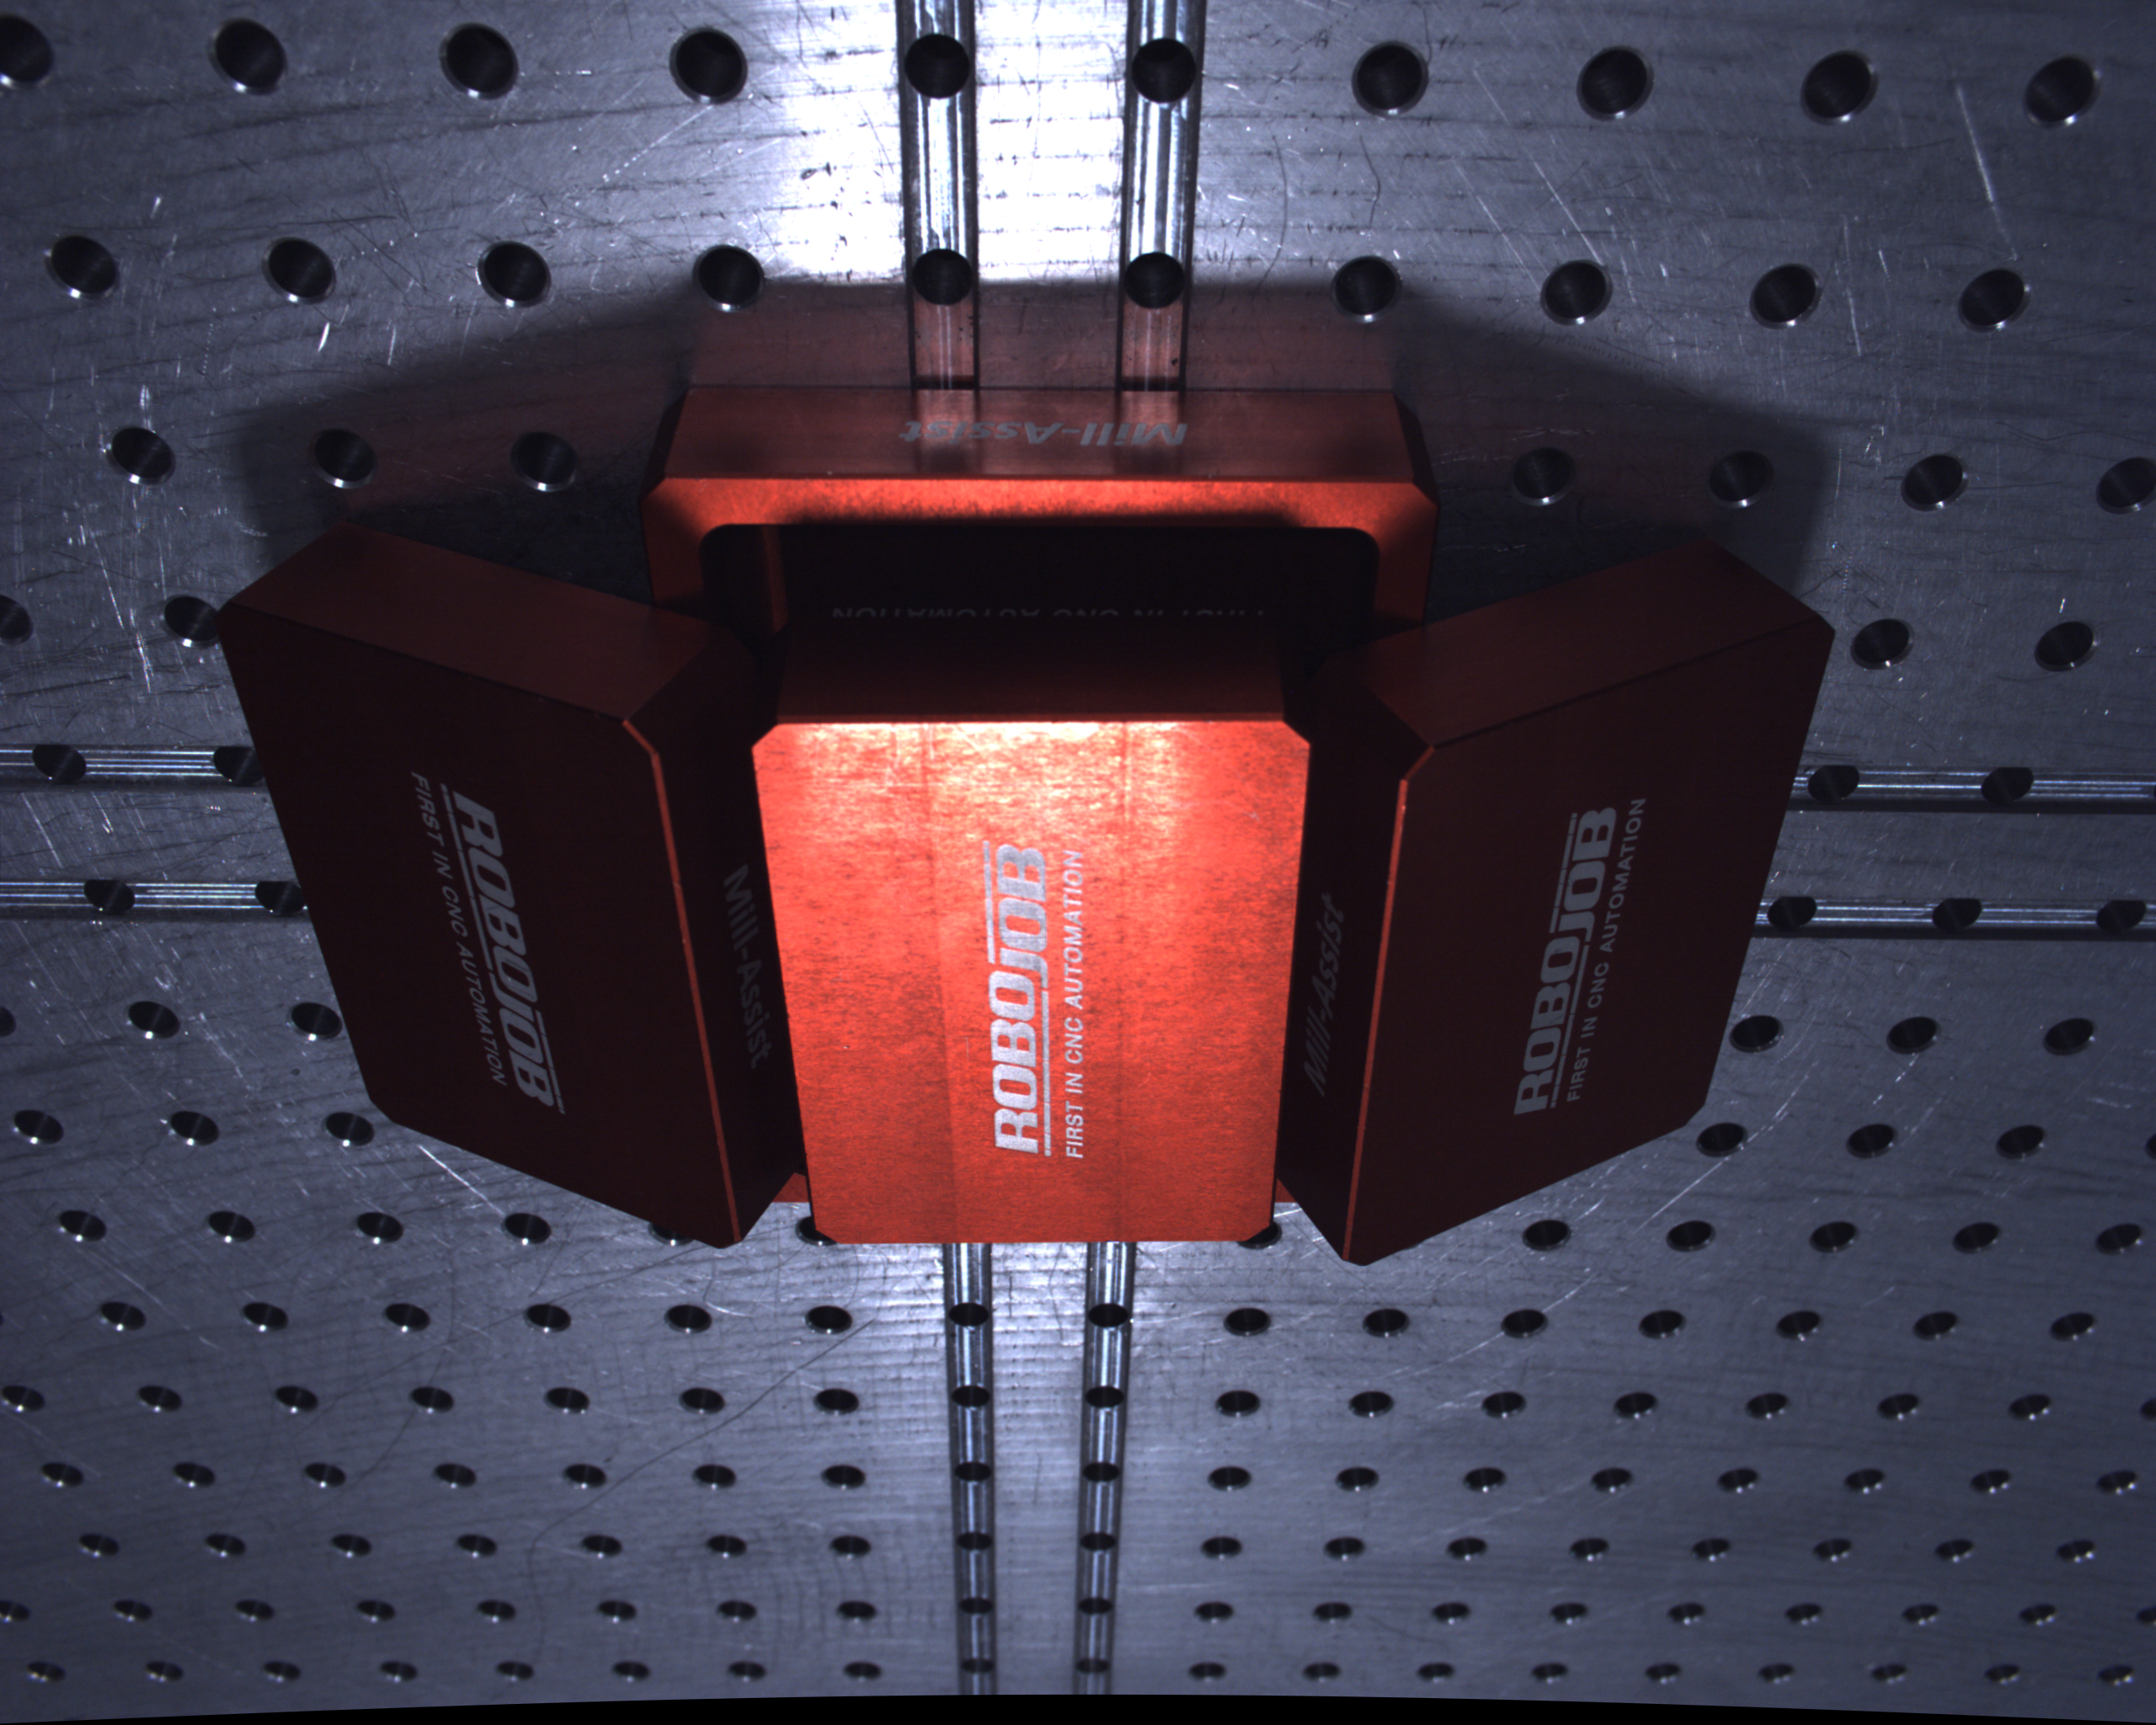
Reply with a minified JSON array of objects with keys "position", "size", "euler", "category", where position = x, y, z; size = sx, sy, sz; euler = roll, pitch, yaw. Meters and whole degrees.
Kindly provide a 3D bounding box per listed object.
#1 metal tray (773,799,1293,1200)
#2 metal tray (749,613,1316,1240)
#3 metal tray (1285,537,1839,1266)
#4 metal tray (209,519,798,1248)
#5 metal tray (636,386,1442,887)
[{"position":[-0.006,0.030,0.435],"size":[0.131,0.030,0.089],"euler":[0,131,-1],"category":"metal tray"},{"position":[-0.007,0.016,0.382],"size":[0.091,0.030,0.129],"euler":[0,130,0],"category":"metal tray"},{"position":[0.086,0.011,0.394],"size":[0.091,0.030,0.129],"euler":[-19,134,-21],"category":"metal tray"},{"position":[-0.101,0.007,0.389],"size":[0.090,0.030,0.129],"euler":[17,134,19],"category":"metal tray"},{"position":[-0.007,-0.038,0.375],"size":[0.131,0.030,0.089],"euler":[0,131,-1],"category":"metal tray"}]
